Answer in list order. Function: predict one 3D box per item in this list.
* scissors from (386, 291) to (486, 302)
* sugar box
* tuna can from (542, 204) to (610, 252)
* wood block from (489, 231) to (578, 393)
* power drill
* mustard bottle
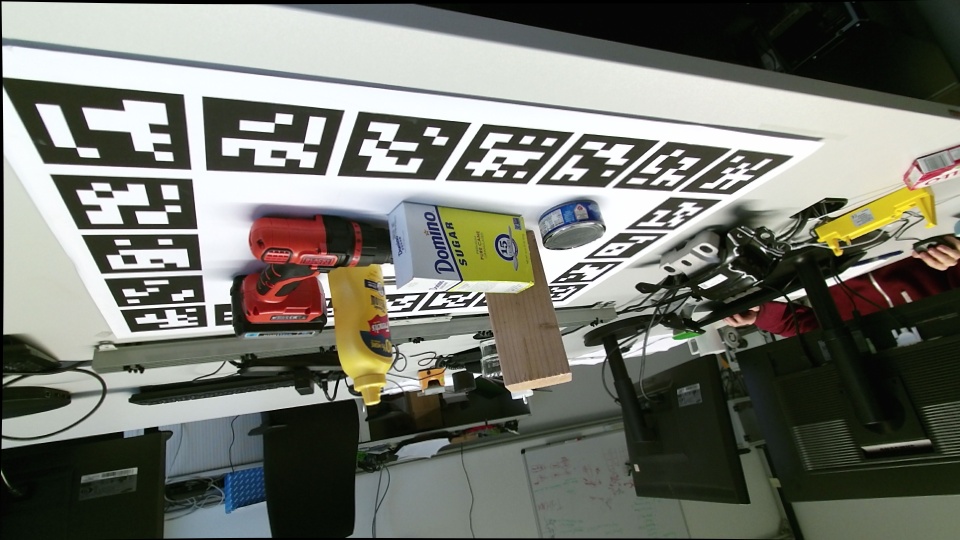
[{"bbox_3d":[-0.063,0.034,0.843,0.203,0.016,0.088,-2,158,-28],"label":"scissors"},{"bbox_3d":[-0.019,-0.020,0.648,0.177,0.092,0.045,5,154,-36],"label":"sugar box"},{"bbox_3d":[0.128,-0.052,0.723,0.086,0.033,0.086,-12,157,-5],"label":"tuna can"},{"bbox_3d":[0.066,0.062,0.765,0.091,0.205,0.090,-15,157,0],"label":"wood block"},{"bbox_3d":[-0.184,0.010,0.662,0.185,0.057,0.187,4,145,-38],"label":"power drill"},{"bbox_3d":[-0.147,0.083,0.703,0.058,0.190,0.096,-20,156,11],"label":"mustard bottle"}]
